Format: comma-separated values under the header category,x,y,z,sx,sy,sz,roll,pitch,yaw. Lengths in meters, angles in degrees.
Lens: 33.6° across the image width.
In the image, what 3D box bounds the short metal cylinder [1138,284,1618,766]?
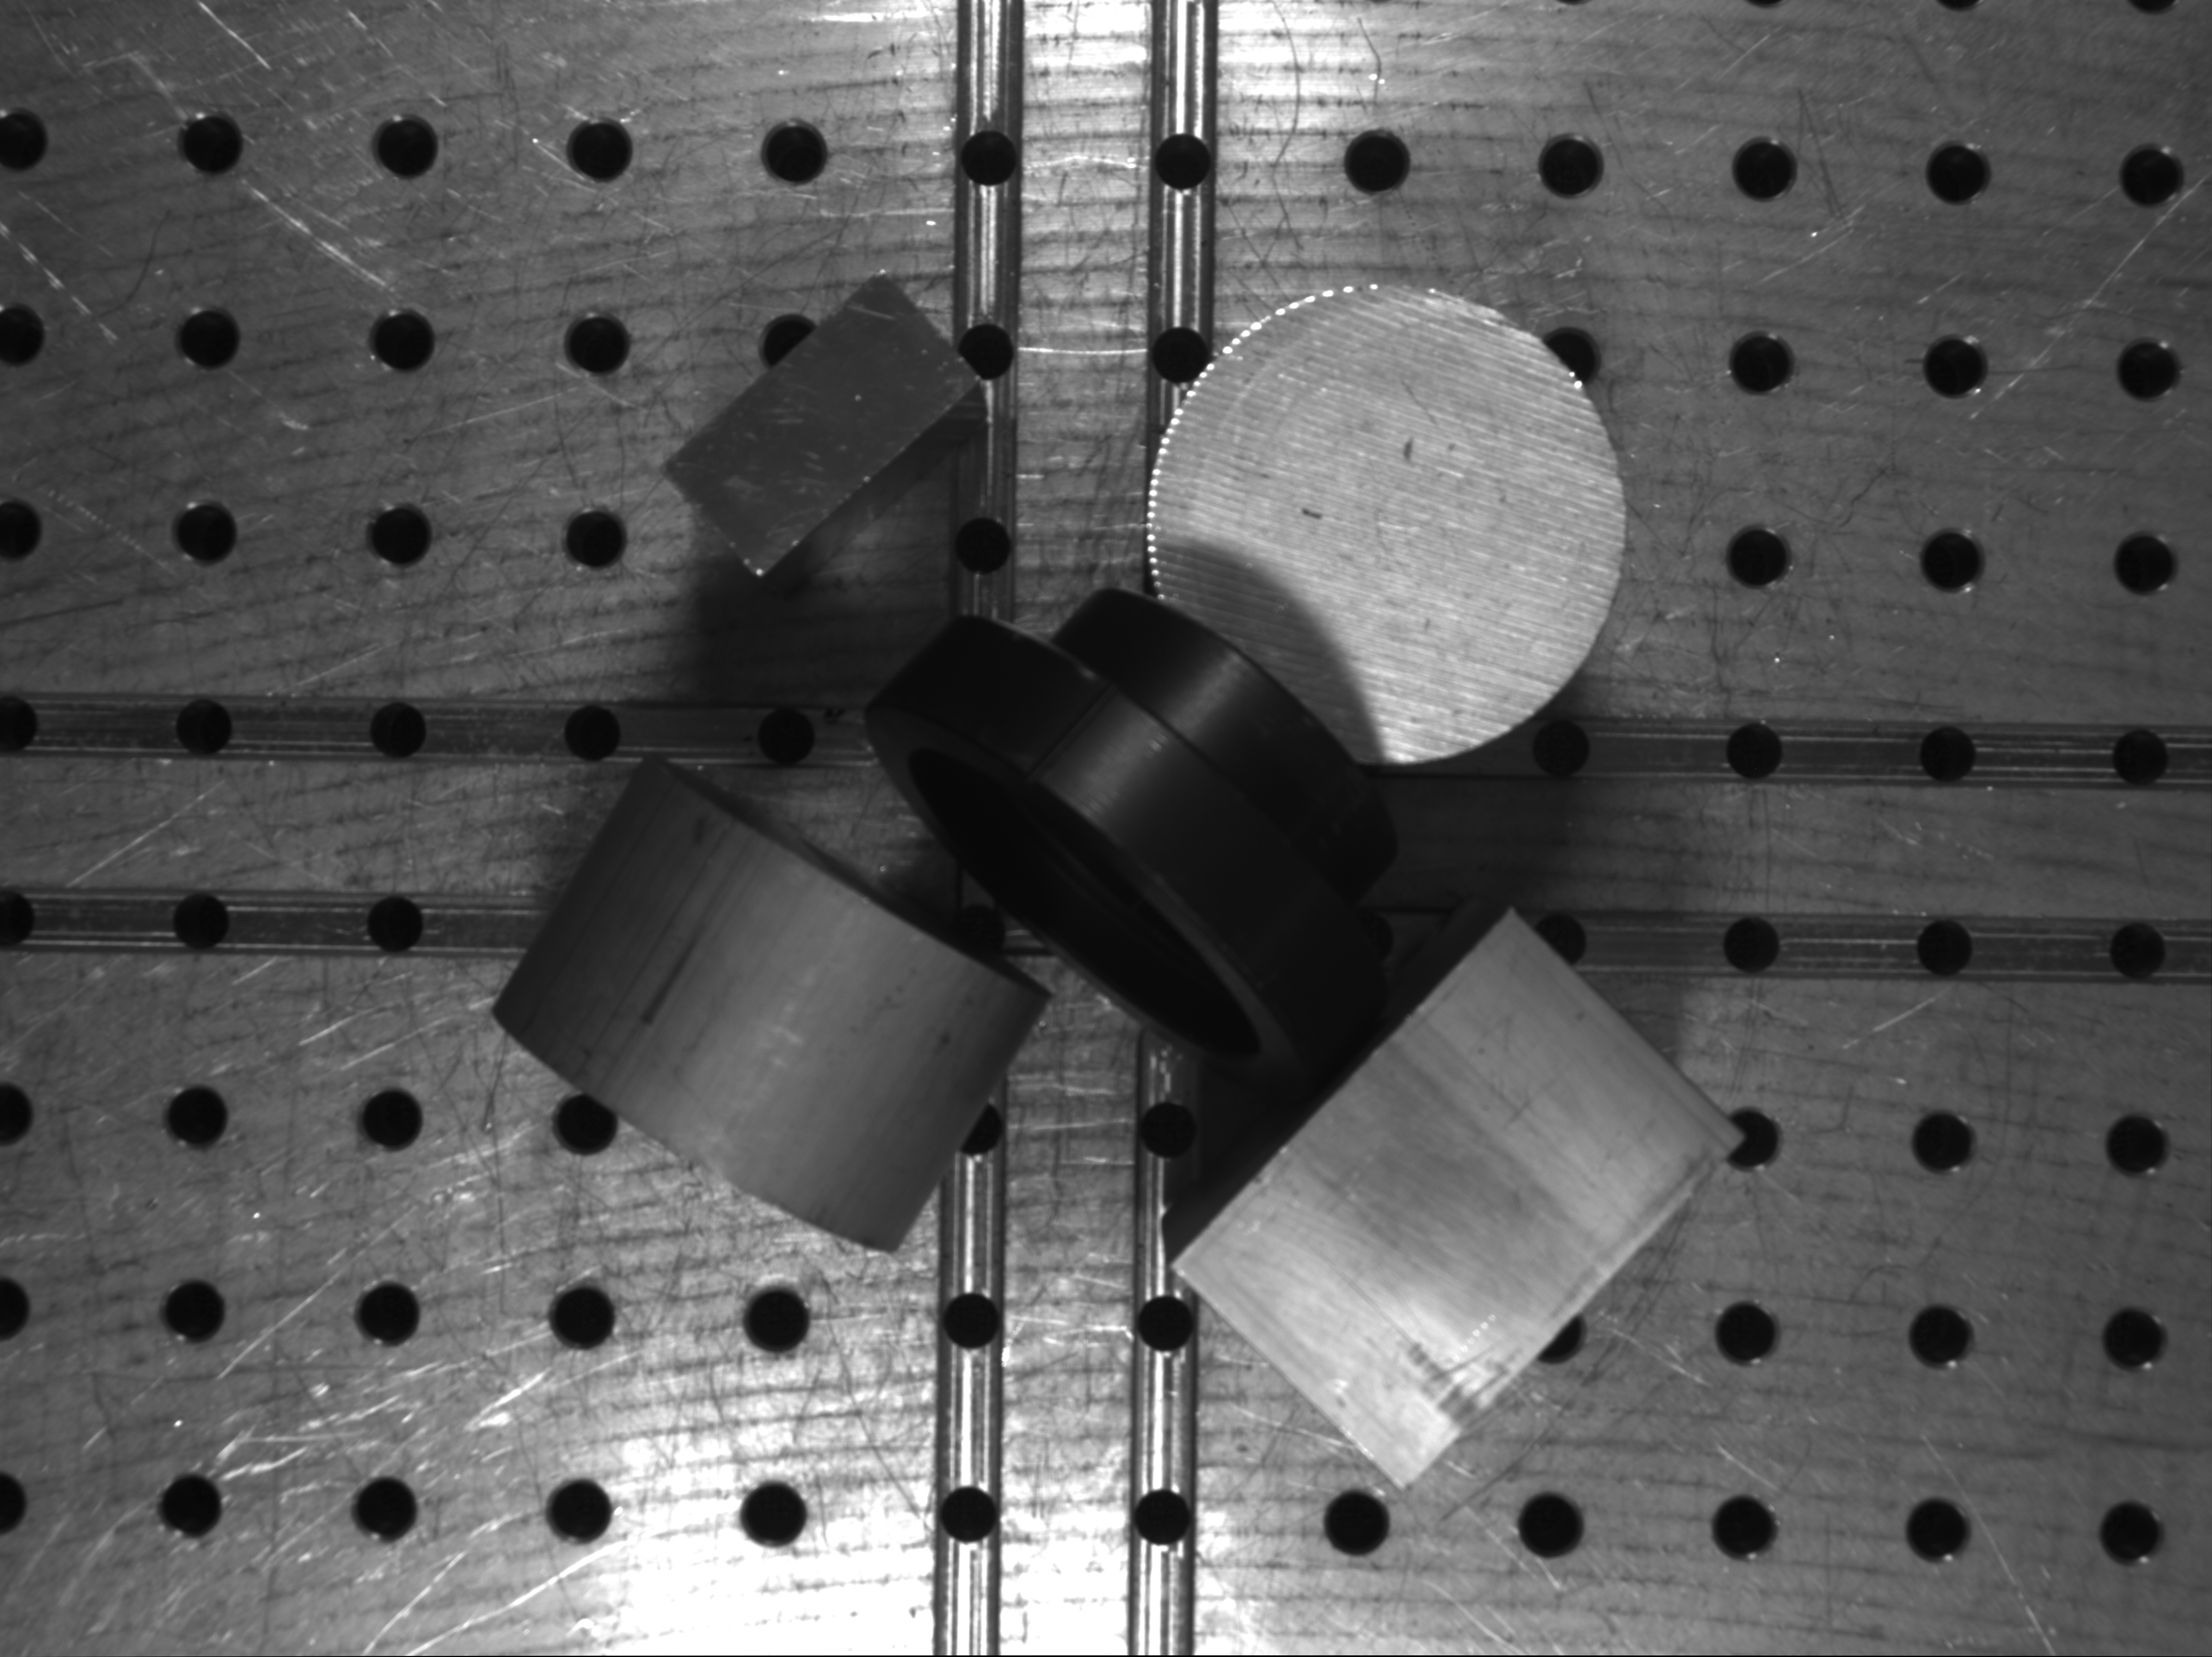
category,x,y,z,sx,sy,sz,roll,pitch,yaw
short metal cylinder,0.045,-0.051,0.635,0.080,0.050,0.080,0,90,0

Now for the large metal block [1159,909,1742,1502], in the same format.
category,x,y,z,sx,sy,sz,roll,pitch,yaw
large metal block,0.055,0.061,0.621,0.050,0.080,0.080,43,90,0

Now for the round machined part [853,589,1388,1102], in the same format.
category,x,y,z,sx,sy,sz,roll,pitch,yaw
round machined part,0.008,-0.002,0.611,0.098,0.098,0.042,41,77,0

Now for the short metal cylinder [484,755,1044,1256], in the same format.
category,x,y,z,sx,sy,sz,roll,pitch,yaw
short metal cylinder,-0.058,0.030,0.619,0.080,0.080,0.050,31,90,0

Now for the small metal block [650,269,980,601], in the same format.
category,x,y,z,sx,sy,sz,roll,pitch,yaw
small metal block,-0.049,-0.067,0.634,0.050,0.050,0.025,-42,90,0
